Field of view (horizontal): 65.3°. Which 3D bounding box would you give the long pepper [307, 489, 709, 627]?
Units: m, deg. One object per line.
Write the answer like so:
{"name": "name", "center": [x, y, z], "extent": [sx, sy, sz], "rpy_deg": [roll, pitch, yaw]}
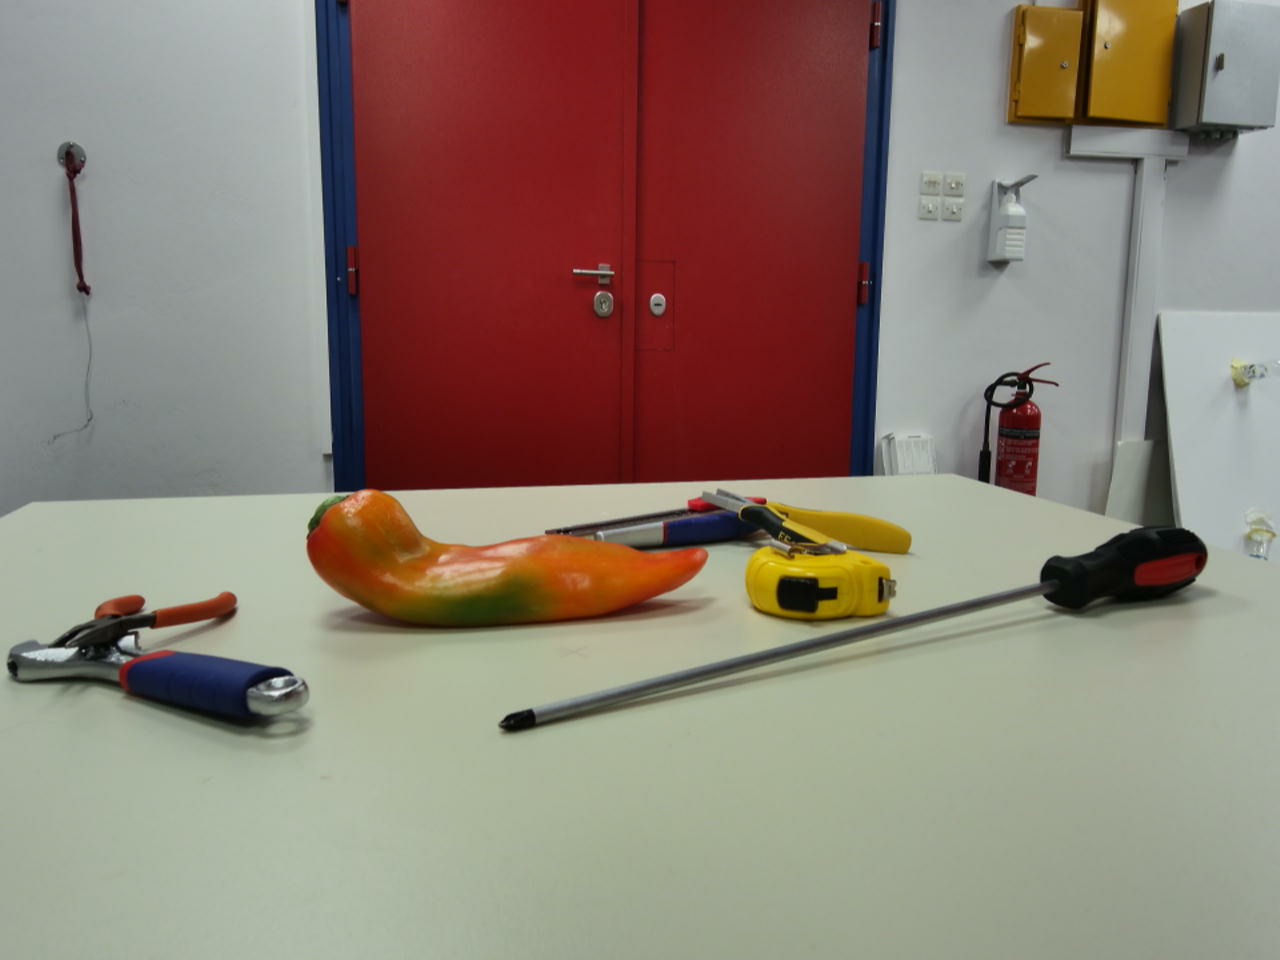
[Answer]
{"name": "long pepper", "center": [-0.062, 0.035, 0.495], "extent": [0.199, 0.065, 0.066], "rpy_deg": [-1, 7, -8]}
